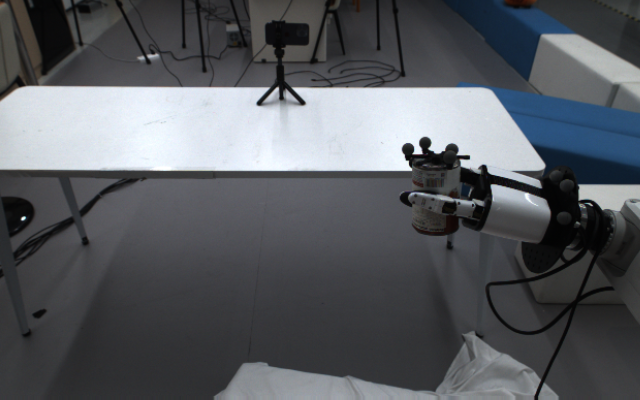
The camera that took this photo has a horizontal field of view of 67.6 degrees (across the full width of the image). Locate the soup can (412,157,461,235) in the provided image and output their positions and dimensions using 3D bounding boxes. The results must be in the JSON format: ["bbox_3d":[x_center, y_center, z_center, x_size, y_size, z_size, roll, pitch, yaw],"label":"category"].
[{"bbox_3d":[0.168,-0.009,0.695,0.067,0.101,0.067,-4,21,1],"label":"soup can"}]
